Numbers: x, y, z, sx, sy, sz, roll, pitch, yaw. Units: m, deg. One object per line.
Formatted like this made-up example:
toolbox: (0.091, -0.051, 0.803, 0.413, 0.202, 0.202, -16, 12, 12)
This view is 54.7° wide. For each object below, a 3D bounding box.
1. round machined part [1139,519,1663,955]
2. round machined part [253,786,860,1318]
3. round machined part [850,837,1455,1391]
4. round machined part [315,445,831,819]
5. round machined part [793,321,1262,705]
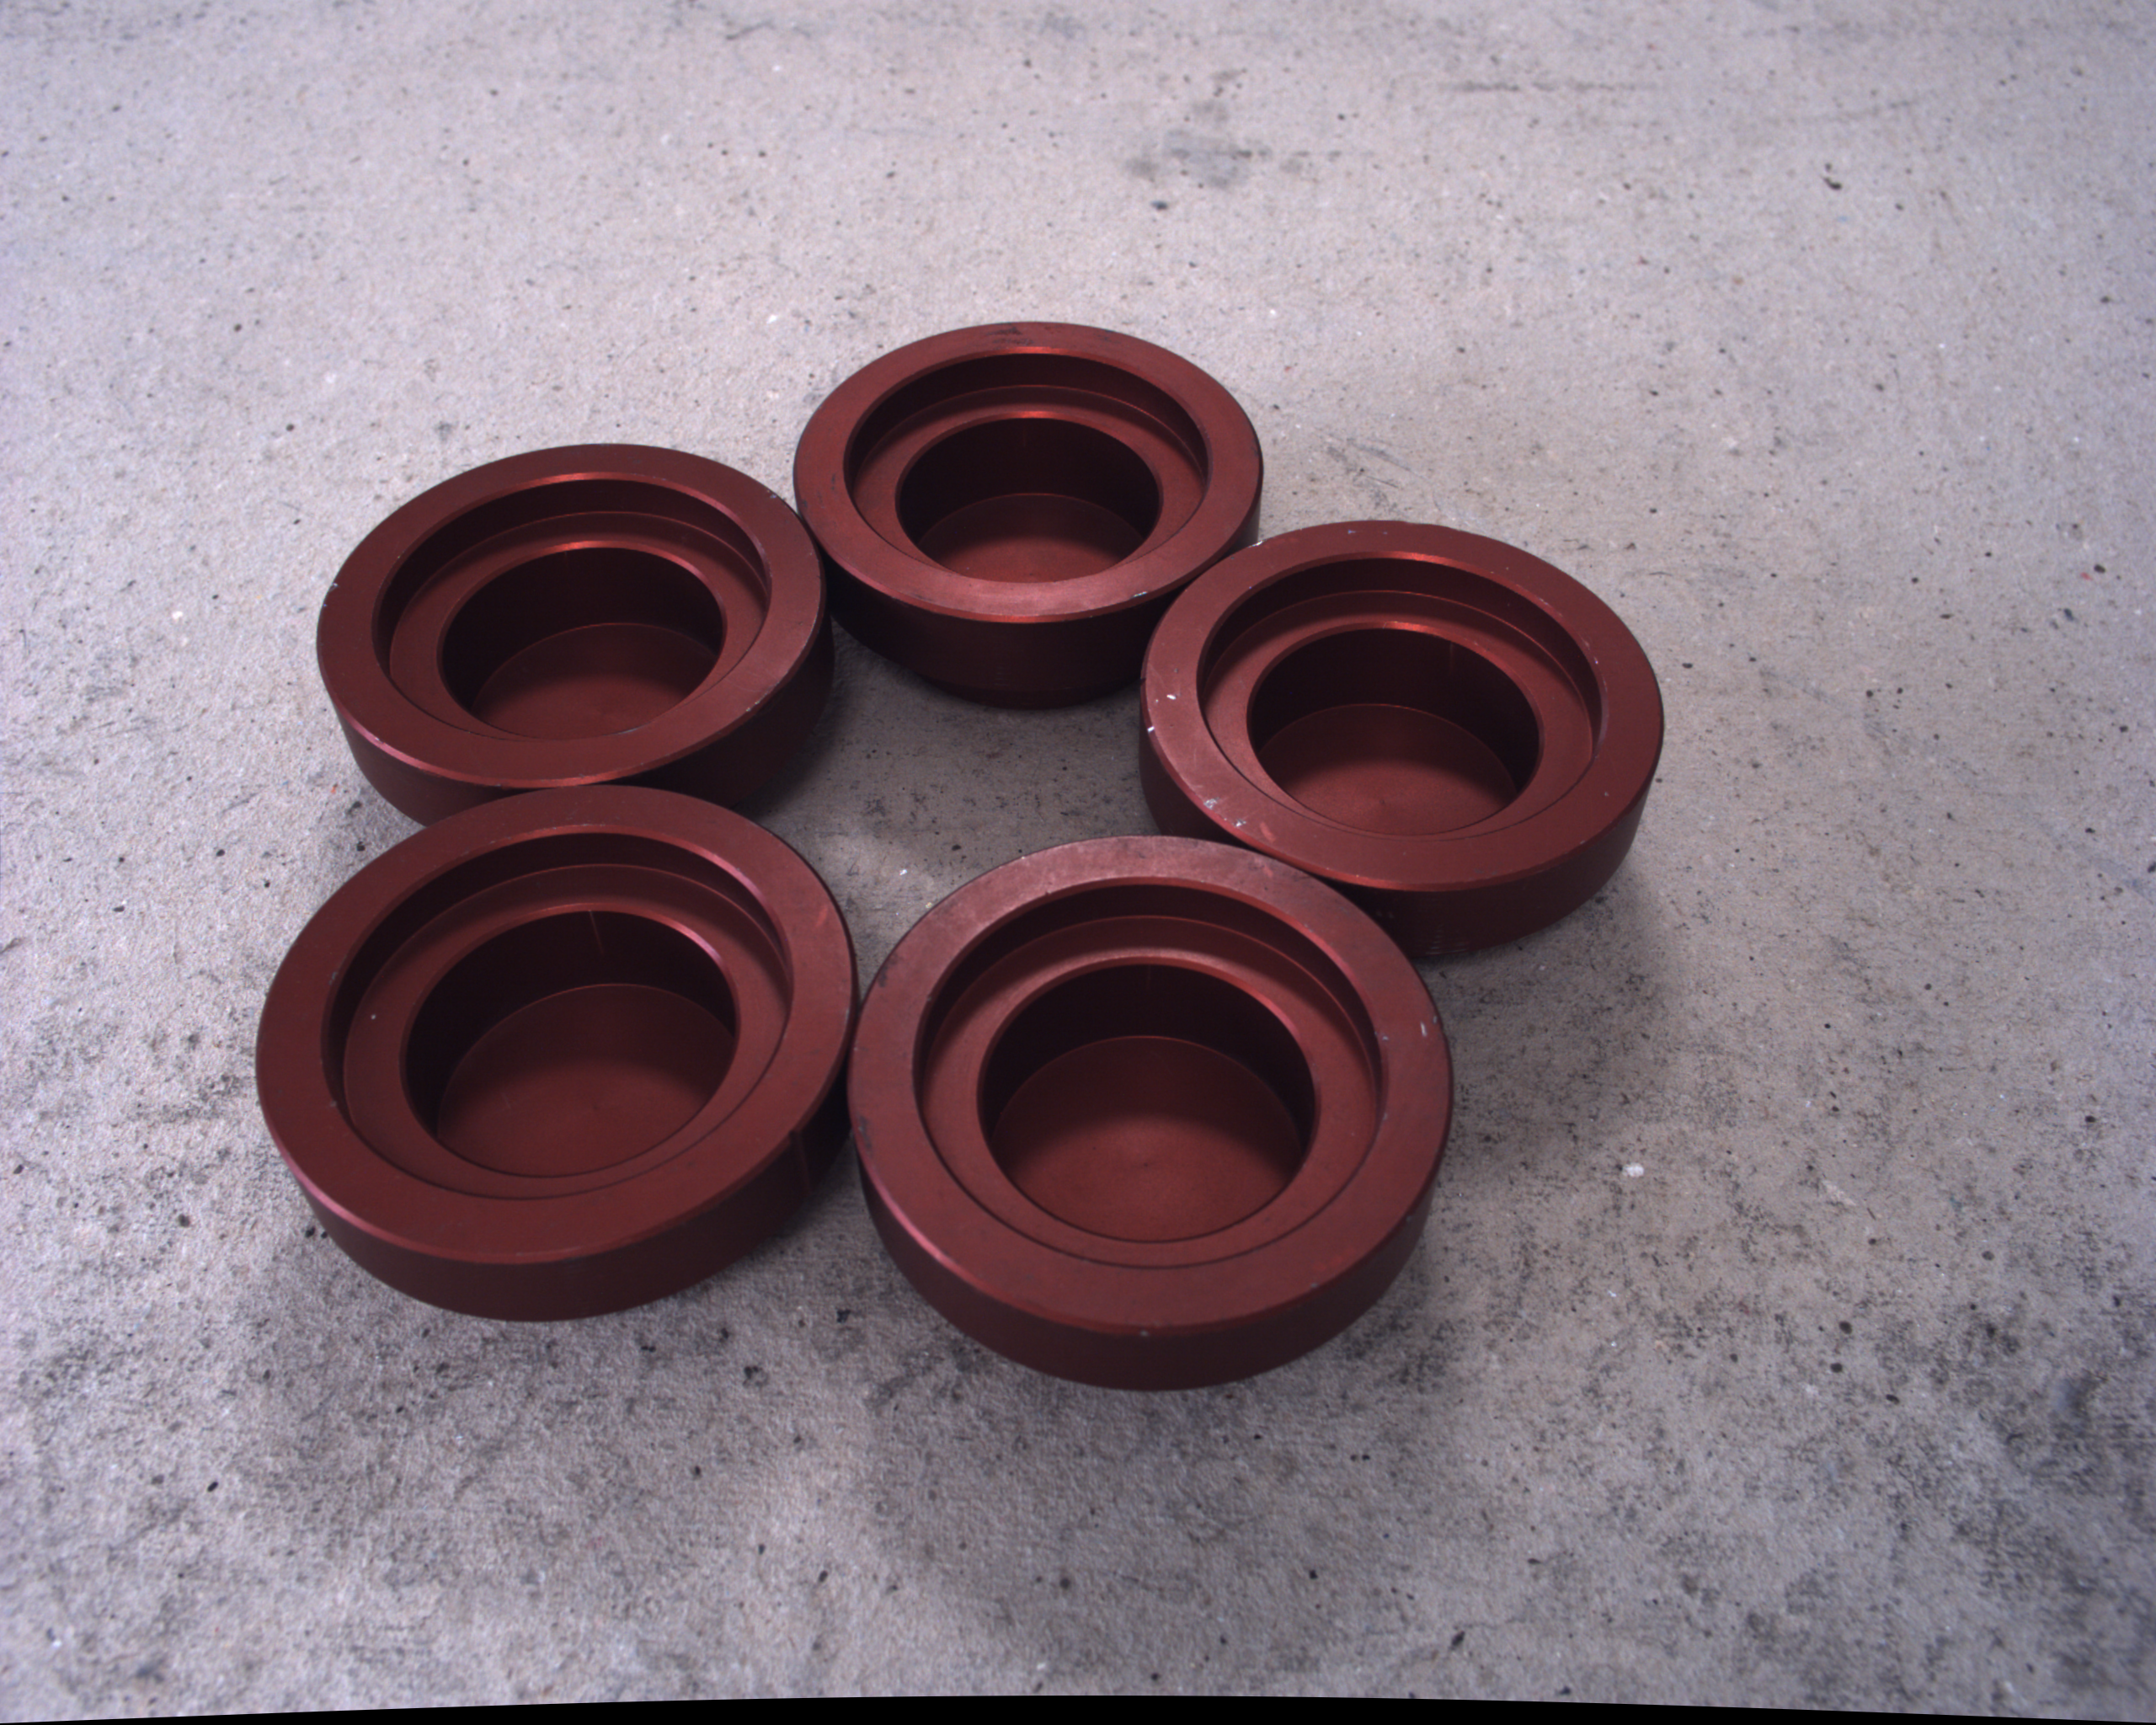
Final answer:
round machined part: (0.061, -0.020, 0.410, 0.099, 0.042, 0.098, 1, 49, -1)
round machined part: (-0.086, 0.036, 0.362, 0.099, 0.042, 0.098, 1, 49, -1)
round machined part: (0.012, 0.045, 0.356, 0.099, 0.042, 0.098, 1, 49, -1)
round machined part: (-0.099, -0.039, 0.425, 0.099, 0.042, 0.098, 0, 49, 0)
round machined part: (-0.011, -0.072, 0.453, 0.099, 0.042, 0.098, 1, 49, -1)
